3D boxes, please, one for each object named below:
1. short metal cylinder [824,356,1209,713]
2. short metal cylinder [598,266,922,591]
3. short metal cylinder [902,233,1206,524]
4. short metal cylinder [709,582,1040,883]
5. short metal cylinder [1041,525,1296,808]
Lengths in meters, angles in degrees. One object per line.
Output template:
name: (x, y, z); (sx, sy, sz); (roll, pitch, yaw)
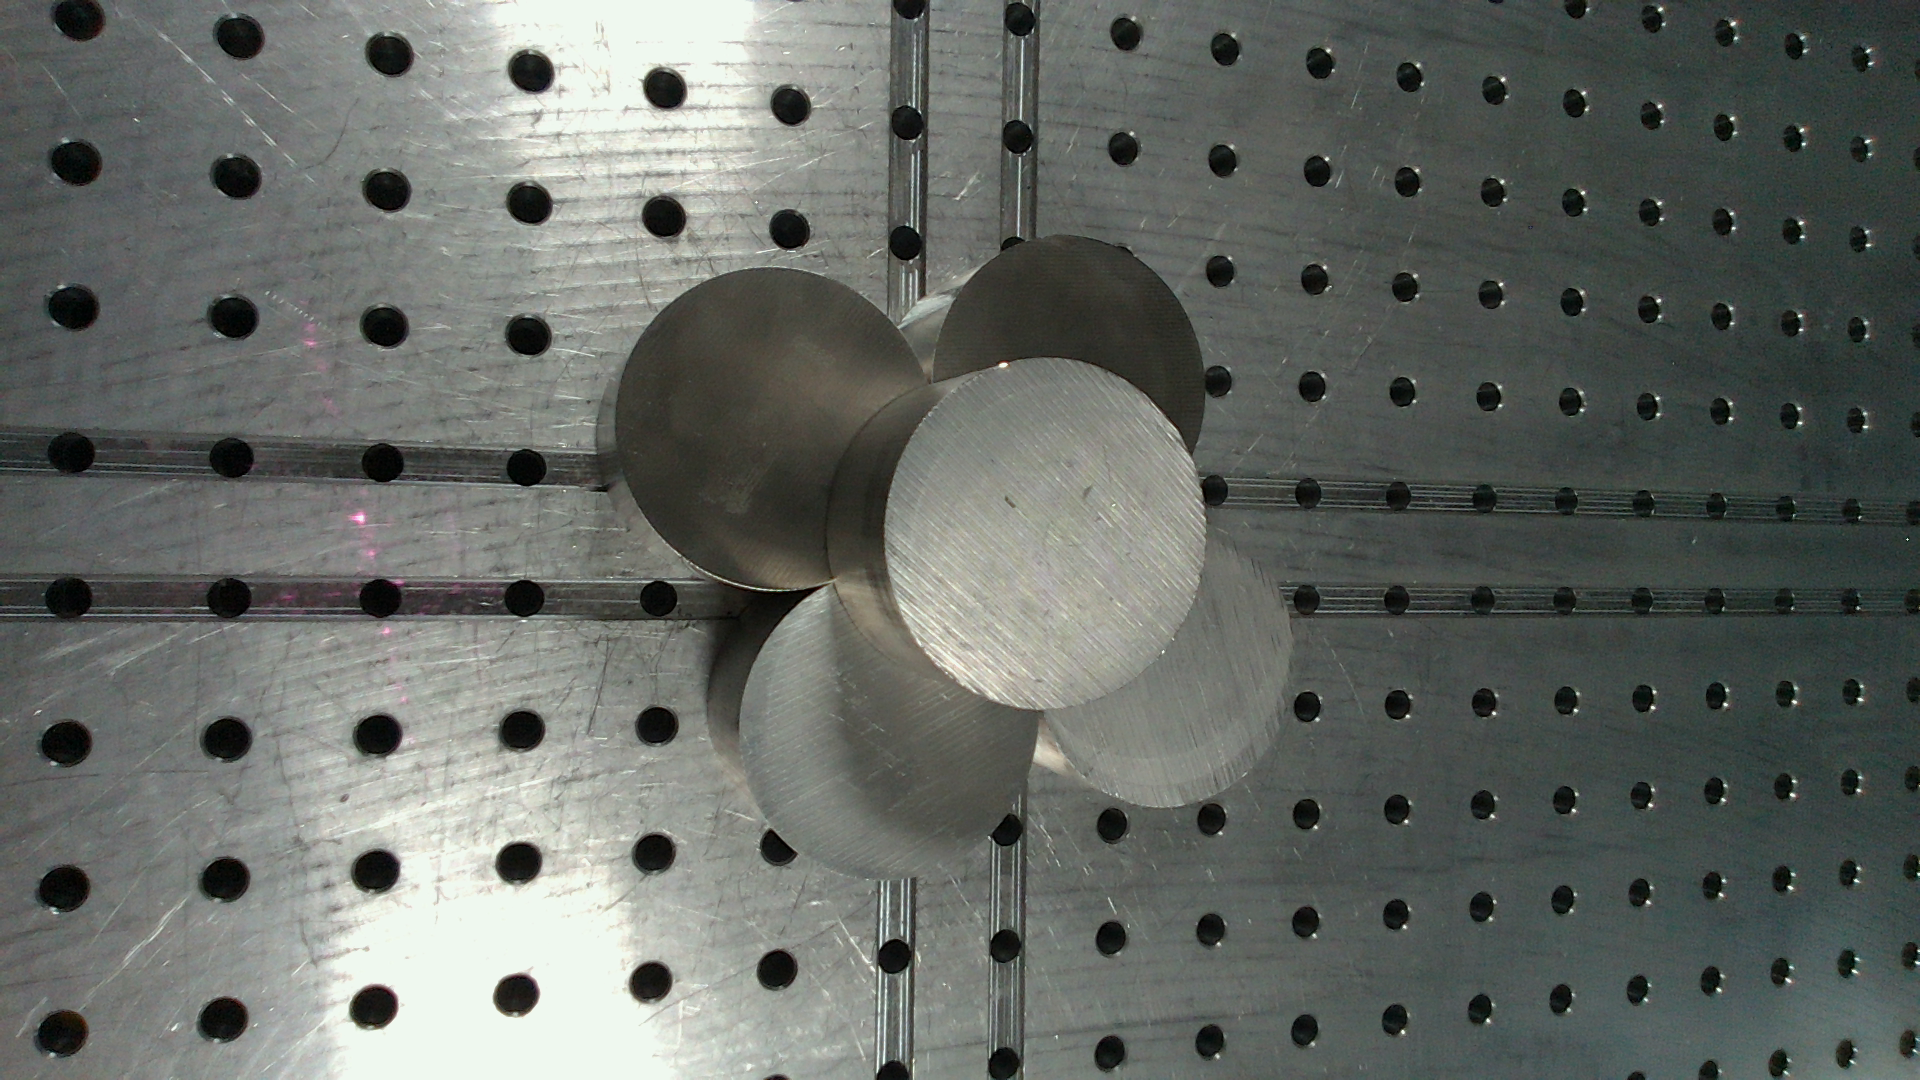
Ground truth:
short metal cylinder: (0.012, -0.002, 0.332); (0.080, 0.050, 0.080); (-1, 92, -21)
short metal cylinder: (-0.053, -0.028, 0.363); (0.080, 0.050, 0.080); (0, 90, -20)
short metal cylinder: (0.022, -0.042, 0.390); (0.080, 0.050, 0.080); (0, 90, -20)
short metal cylinder: (-0.025, 0.047, 0.373); (0.080, 0.050, 0.080); (0, 90, -20)
short metal cylinder: (0.049, 0.033, 0.400); (0.080, 0.050, 0.080); (0, 90, -20)
